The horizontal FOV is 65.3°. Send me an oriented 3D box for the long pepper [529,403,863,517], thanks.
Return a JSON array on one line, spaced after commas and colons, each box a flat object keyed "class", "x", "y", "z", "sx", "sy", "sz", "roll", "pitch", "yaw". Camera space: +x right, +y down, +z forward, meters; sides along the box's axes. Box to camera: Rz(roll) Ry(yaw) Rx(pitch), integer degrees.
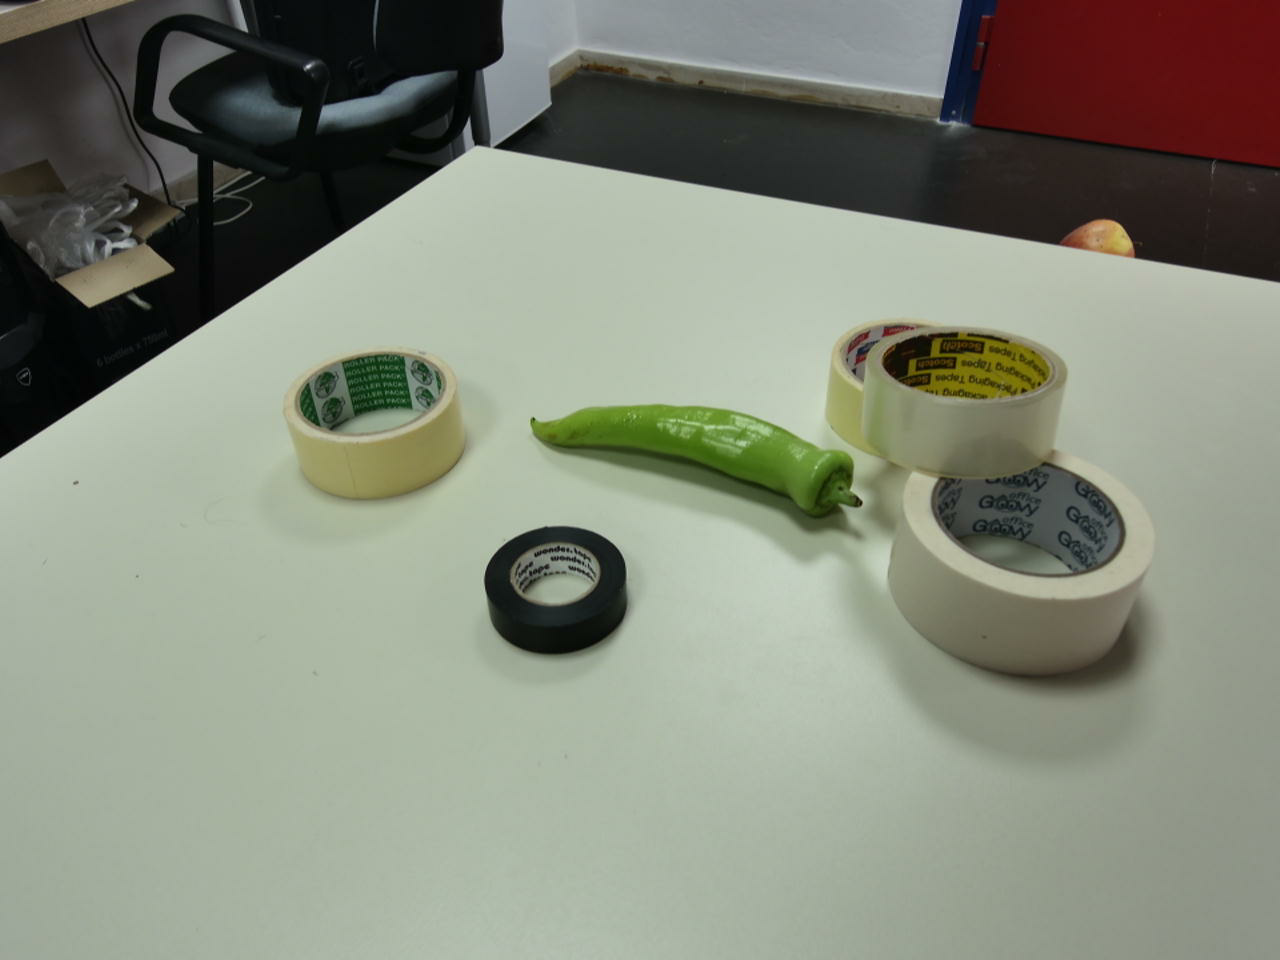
[{"class": "long pepper", "x": 0.029, "y": -0.021, "z": 0.536, "sx": 0.197, "sy": 0.038, "sz": 0.046, "roll": 18, "pitch": 42, "yaw": 22}]
